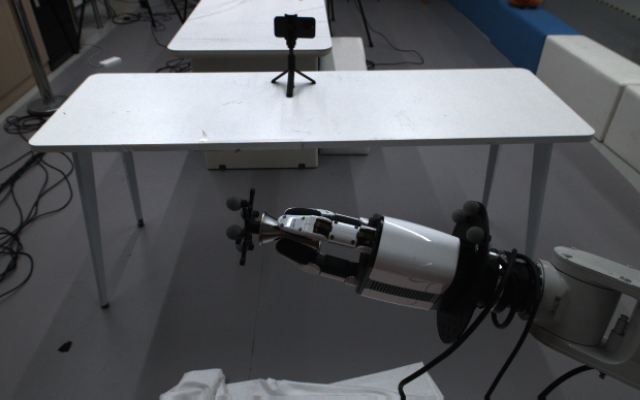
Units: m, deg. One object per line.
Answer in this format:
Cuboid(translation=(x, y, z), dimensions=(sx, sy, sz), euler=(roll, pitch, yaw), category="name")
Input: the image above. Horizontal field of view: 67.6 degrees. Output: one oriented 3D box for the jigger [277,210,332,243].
Cuboid(translation=(-0.024, 0.031, 0.555), dimensions=(0.071, 0.043, 0.043), euler=(5, 35, 3), category="jigger")
